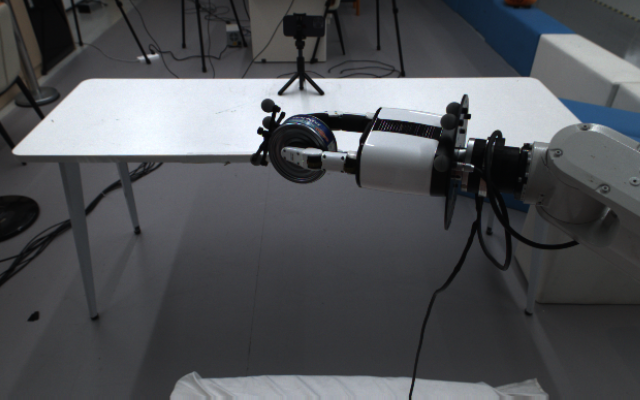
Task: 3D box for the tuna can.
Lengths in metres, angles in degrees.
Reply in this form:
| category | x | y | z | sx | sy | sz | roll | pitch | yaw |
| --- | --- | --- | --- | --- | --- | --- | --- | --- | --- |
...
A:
| category | x | y | z | sx | sy | sz | roll | pitch | yaw |
| --- | --- | --- | --- | --- | --- | --- | --- | --- | --- |
| tuna can | -0.020 | -0.062 | 0.622 | 0.085 | 0.085 | 0.034 | 12 | 30 | 14 |
